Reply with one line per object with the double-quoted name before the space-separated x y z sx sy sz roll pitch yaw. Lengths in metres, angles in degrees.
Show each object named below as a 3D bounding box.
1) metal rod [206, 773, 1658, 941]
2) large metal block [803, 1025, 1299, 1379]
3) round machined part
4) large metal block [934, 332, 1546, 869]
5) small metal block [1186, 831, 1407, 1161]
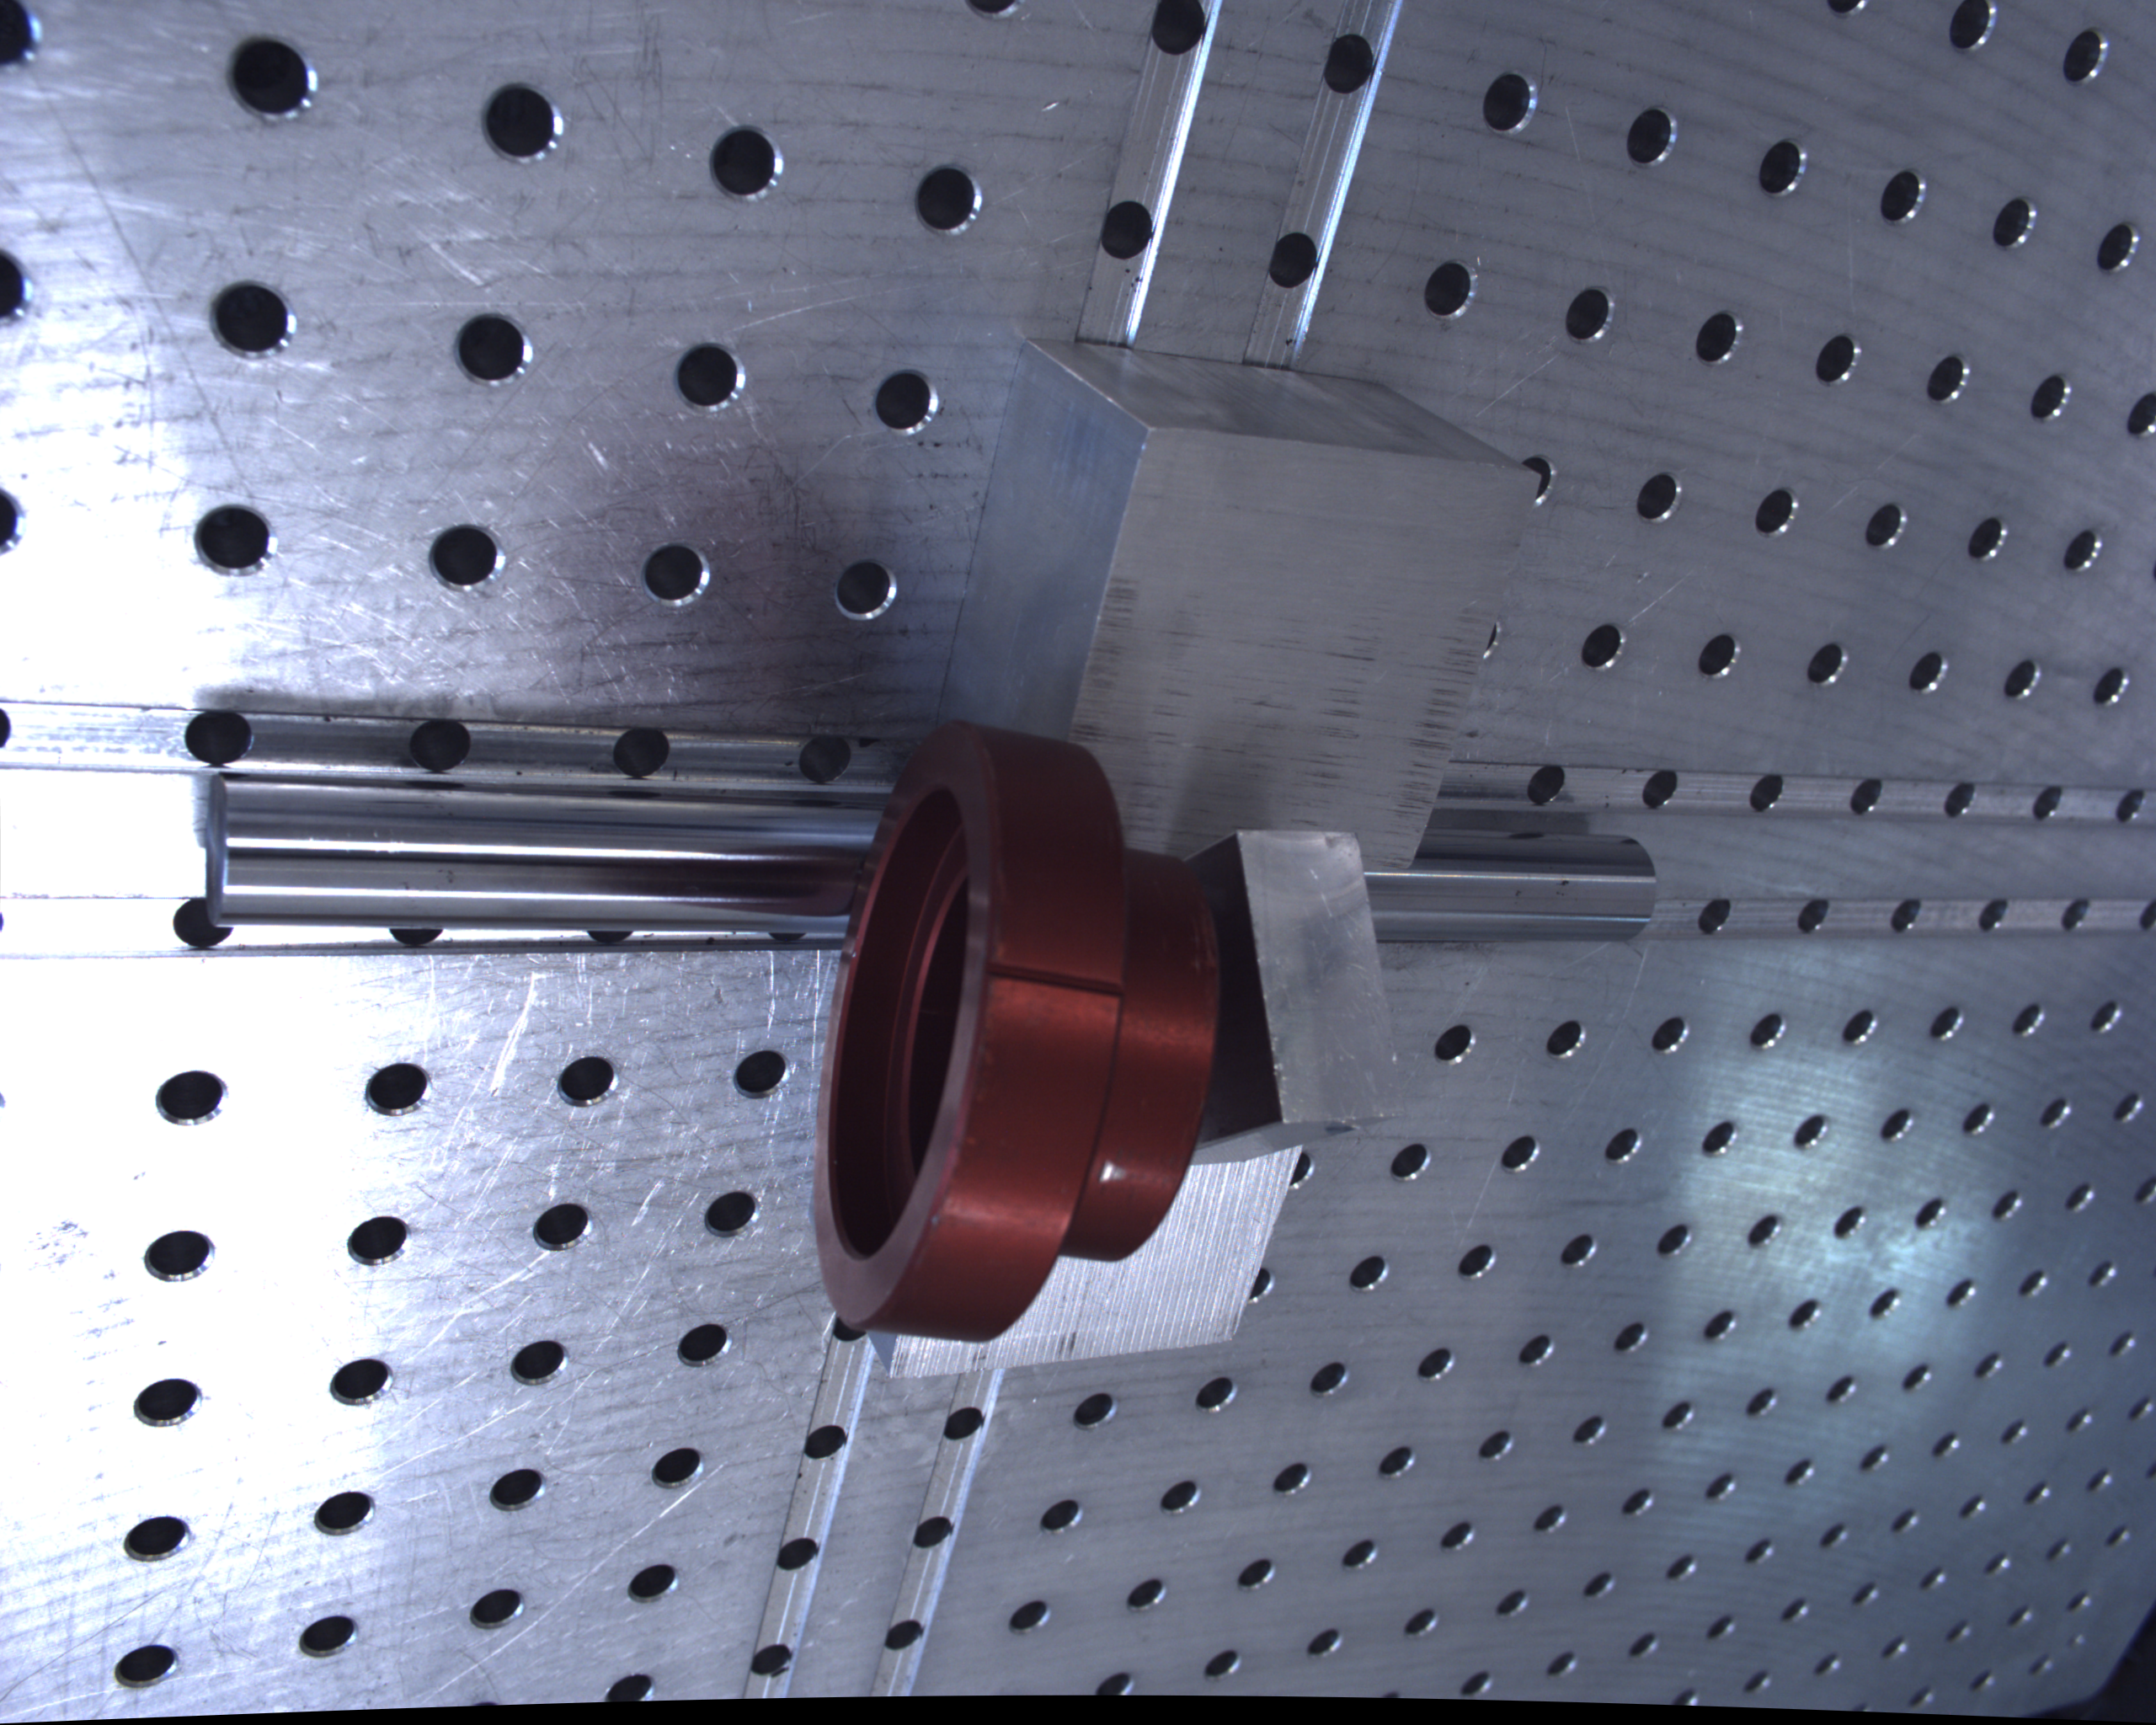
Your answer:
"metal rod" -0.007 0.002 0.409 0.303 0.025 0.025 2 118 -29
"large metal block" -0.003 0.054 0.427 0.081 0.050 0.079 1 118 -29
"round machined part" -0.009 0.029 0.339 0.042 0.098 0.097 11 114 -17
"large metal block" 0.027 -0.046 0.381 0.081 0.050 0.079 0 118 -29
"small metal block" 0.029 0.025 0.370 0.025 0.050 0.050 1 74 -29
